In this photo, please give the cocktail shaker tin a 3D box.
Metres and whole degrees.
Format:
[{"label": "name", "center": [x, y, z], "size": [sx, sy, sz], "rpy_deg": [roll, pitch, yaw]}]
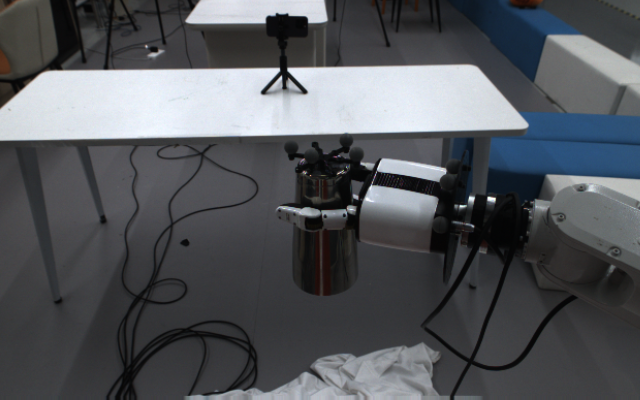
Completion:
[{"label": "cocktail shaker tin", "center": [0.010, 0.027, 0.630], "size": [0.093, 0.170, 0.093], "rpy_deg": [-1, 32, 1]}]
